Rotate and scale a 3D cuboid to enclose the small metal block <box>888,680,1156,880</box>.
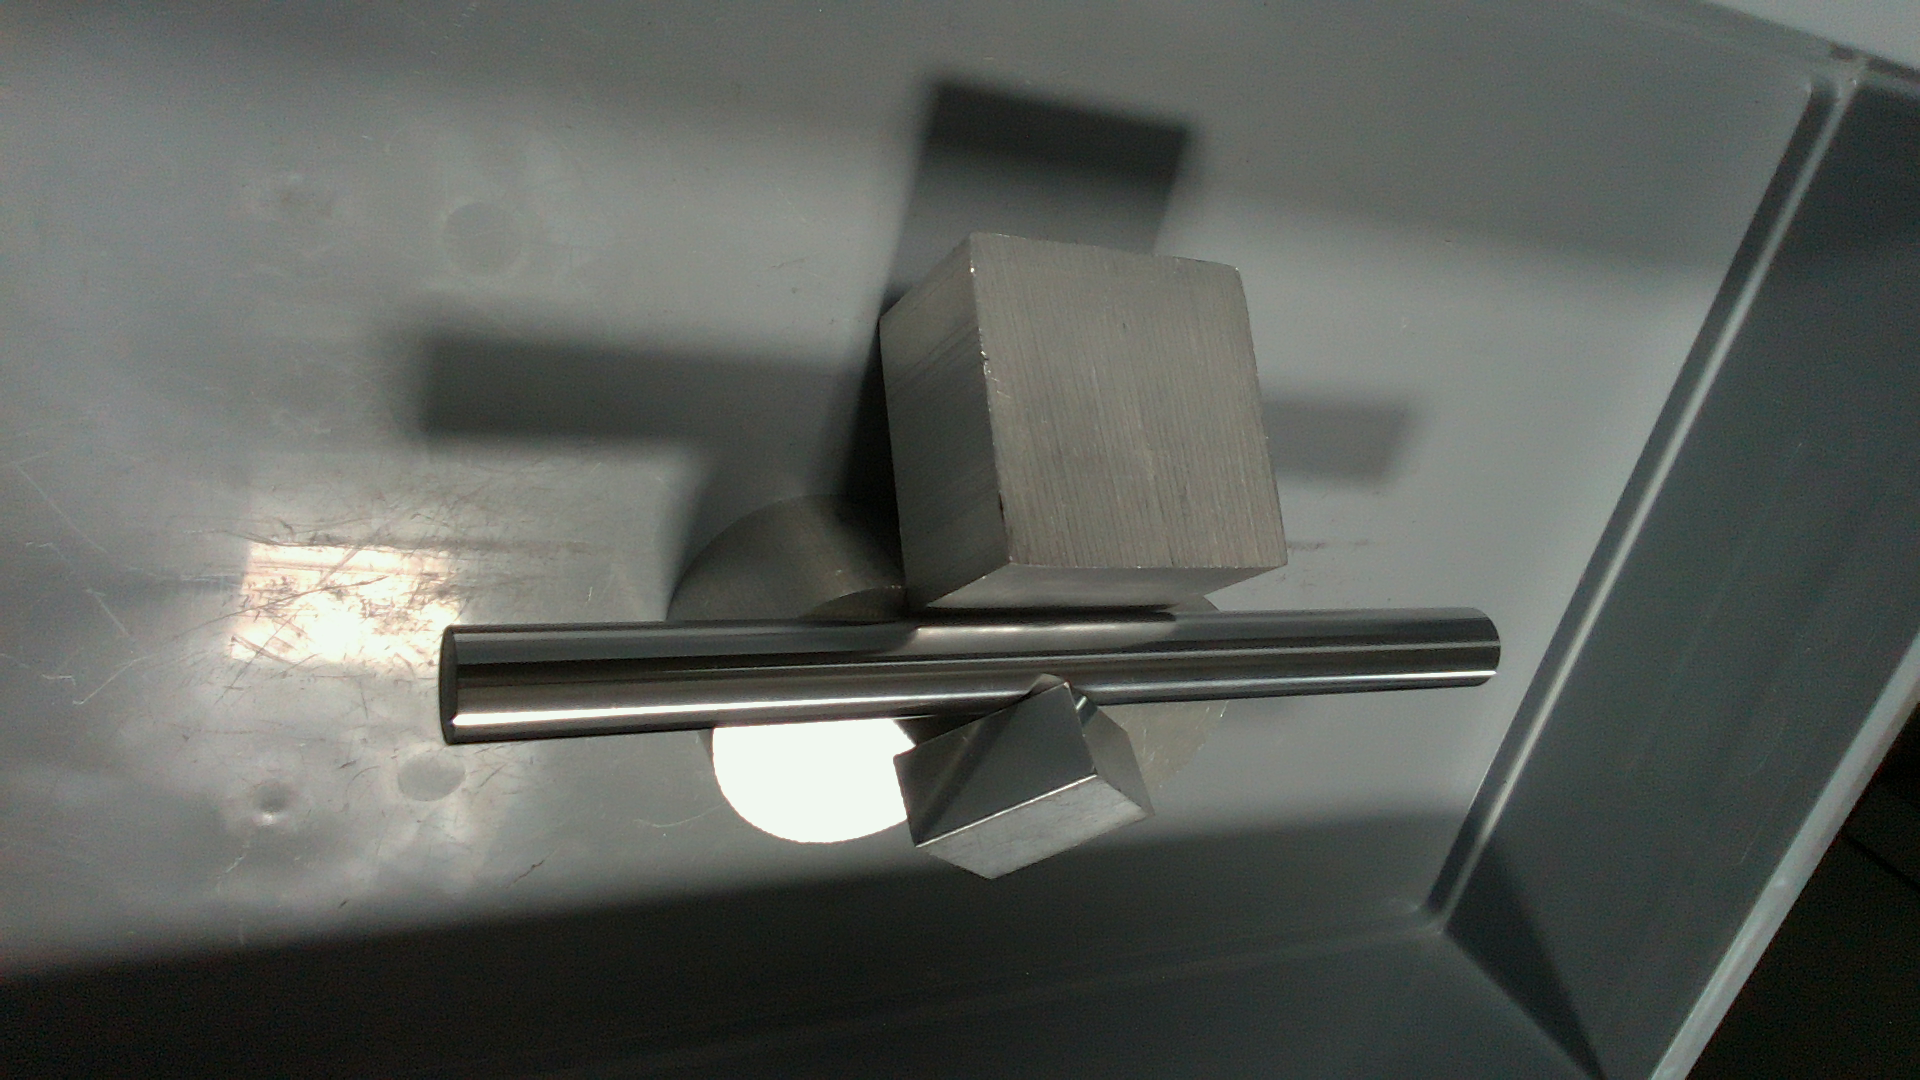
[{"bbox_3d":[0.017,0.064,0.358,0.050,0.025,0.050,-25,150,14],"label":"small metal block"}]

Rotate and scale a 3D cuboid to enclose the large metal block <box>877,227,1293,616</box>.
[{"bbox_3d":[0.030,-0.026,0.345,0.080,0.050,0.080,1,75,-29],"label":"large metal block"}]

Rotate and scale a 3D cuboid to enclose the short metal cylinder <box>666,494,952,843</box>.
[{"bbox_3d":[-0.035,0.035,0.374,0.080,0.050,0.080,-14,124,-21],"label":"short metal cylinder"}]

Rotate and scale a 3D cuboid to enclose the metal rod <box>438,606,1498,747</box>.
[{"bbox_3d":[0.026,0.032,0.357,0.301,0.025,0.025,1,118,-29],"label":"metal rod"}]

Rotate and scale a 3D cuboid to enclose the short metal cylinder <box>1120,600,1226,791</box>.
[{"bbox_3d":[0.035,0.036,0.413,0.080,0.050,0.080,-14,124,-21],"label":"short metal cylinder"}]
